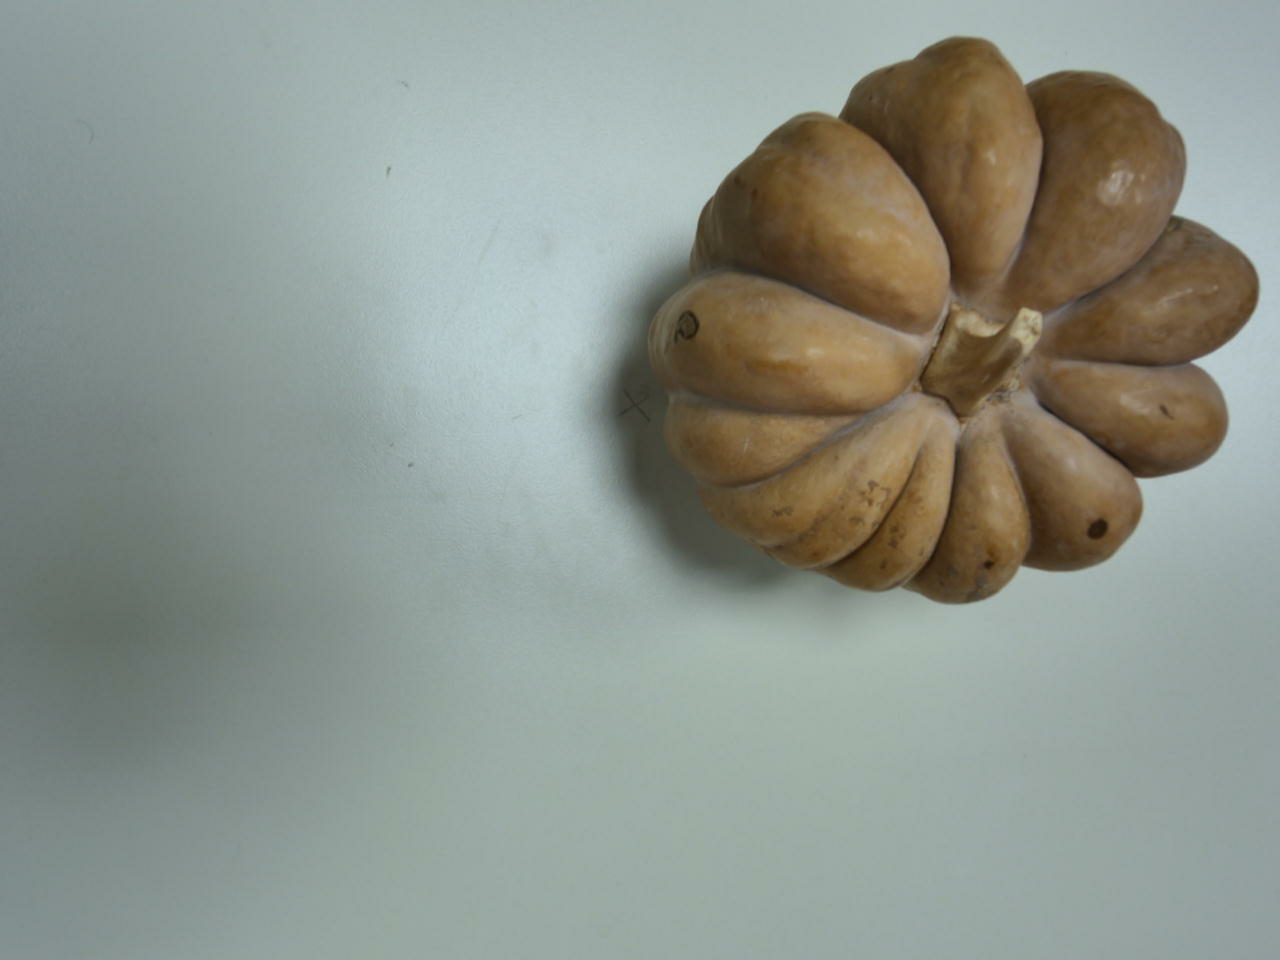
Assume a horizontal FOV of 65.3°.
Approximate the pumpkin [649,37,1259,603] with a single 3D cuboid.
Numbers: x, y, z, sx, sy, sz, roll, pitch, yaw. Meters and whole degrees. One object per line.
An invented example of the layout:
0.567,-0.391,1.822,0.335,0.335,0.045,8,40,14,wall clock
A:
0.102,-0.050,0.371,0.199,0.177,0.198,0,91,-12,pumpkin
